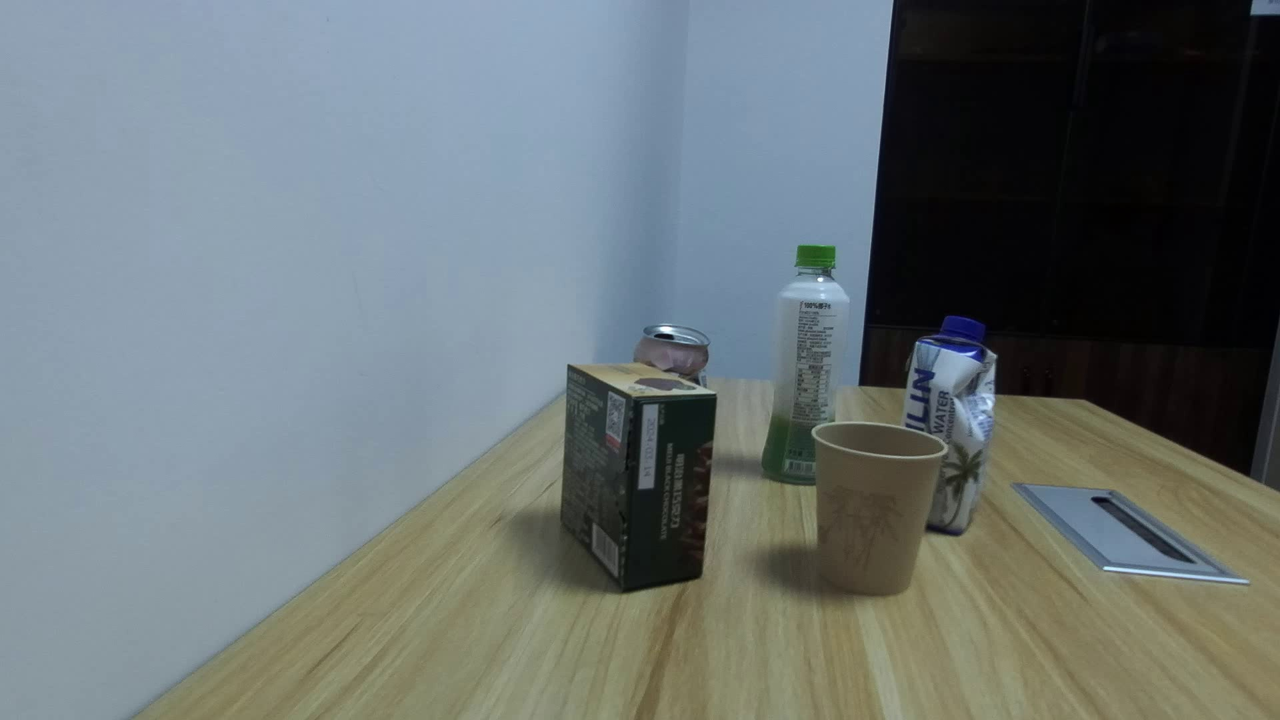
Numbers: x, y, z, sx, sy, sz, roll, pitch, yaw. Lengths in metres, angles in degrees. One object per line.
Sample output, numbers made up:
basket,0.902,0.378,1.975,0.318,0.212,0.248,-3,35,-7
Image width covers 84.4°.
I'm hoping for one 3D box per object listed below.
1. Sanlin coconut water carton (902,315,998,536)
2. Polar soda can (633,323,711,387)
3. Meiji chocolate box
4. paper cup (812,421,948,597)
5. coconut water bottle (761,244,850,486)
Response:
Sanlin coconut water carton,0.215,0.043,0.497,0.060,0.143,0.070,11,10,33
Polar soda can,0.019,0.035,0.591,0.067,0.121,0.070,2,17,-26
Meiji chocolate box,-0.006,0.064,0.432,0.056,0.109,0.109,-1,10,-25
paper cup,0.133,0.085,0.407,0.075,0.082,0.075,2,10,0
coconut water bottle,0.139,0.002,0.580,0.063,0.188,0.063,3,8,0
